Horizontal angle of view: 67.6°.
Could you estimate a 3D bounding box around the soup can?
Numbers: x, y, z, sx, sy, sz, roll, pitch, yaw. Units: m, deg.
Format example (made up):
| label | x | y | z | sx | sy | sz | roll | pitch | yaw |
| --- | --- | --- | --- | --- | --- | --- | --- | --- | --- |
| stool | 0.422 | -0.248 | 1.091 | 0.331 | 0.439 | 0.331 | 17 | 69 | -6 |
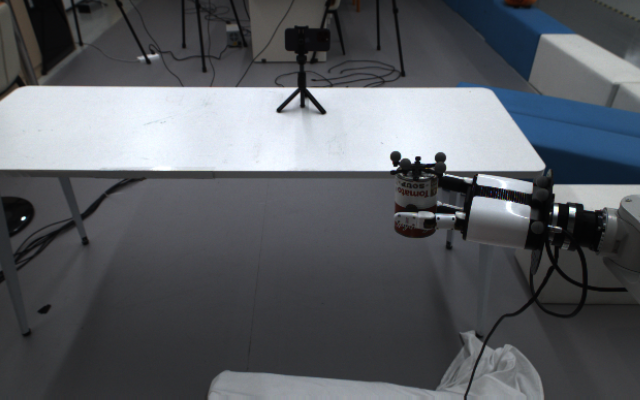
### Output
| label | x | y | z | sx | sy | sz | roll | pitch | yaw |
| --- | --- | --- | --- | --- | --- | --- | --- | --- | --- |
| soup can | 0.154 | -0.001 | 0.771 | 0.067 | 0.101 | 0.067 | -3 | 27 | 2 |
